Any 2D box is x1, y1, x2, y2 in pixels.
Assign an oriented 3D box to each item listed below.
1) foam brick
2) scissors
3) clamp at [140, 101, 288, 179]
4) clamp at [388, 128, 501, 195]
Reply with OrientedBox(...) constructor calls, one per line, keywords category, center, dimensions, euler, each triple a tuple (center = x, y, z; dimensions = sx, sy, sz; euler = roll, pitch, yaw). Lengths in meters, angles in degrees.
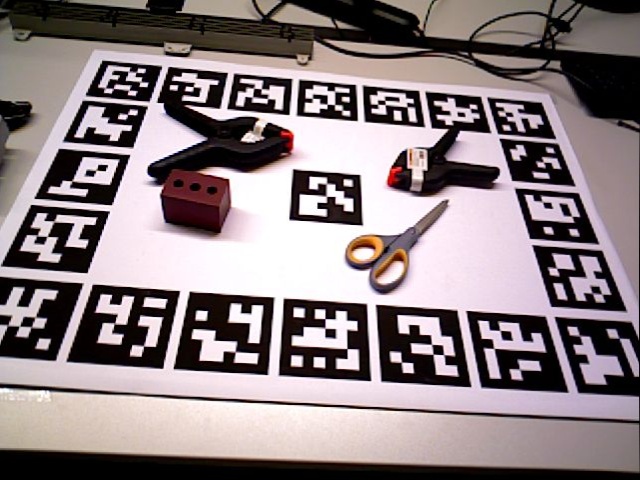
OrientedBox(category="foam brick", center=(-0.167, -0.045, 0.705), dimensions=(0.078, 0.052, 0.052), euler=(8, 53, 5))
OrientedBox(category="scissors", center=(0.110, 0.000, 0.719), dimensions=(0.087, 0.016, 0.198), euler=(41, 57, 14))
OrientedBox(category="clamp", center=(-0.148, -0.146, 0.793), dimensions=(0.201, 0.037, 0.163), euler=(2, 49, -7))
OrientedBox(category="clamp", center=(0.174, -0.110, 0.808), dimensions=(0.162, 0.037, 0.121), euler=(-19, 64, -19))
